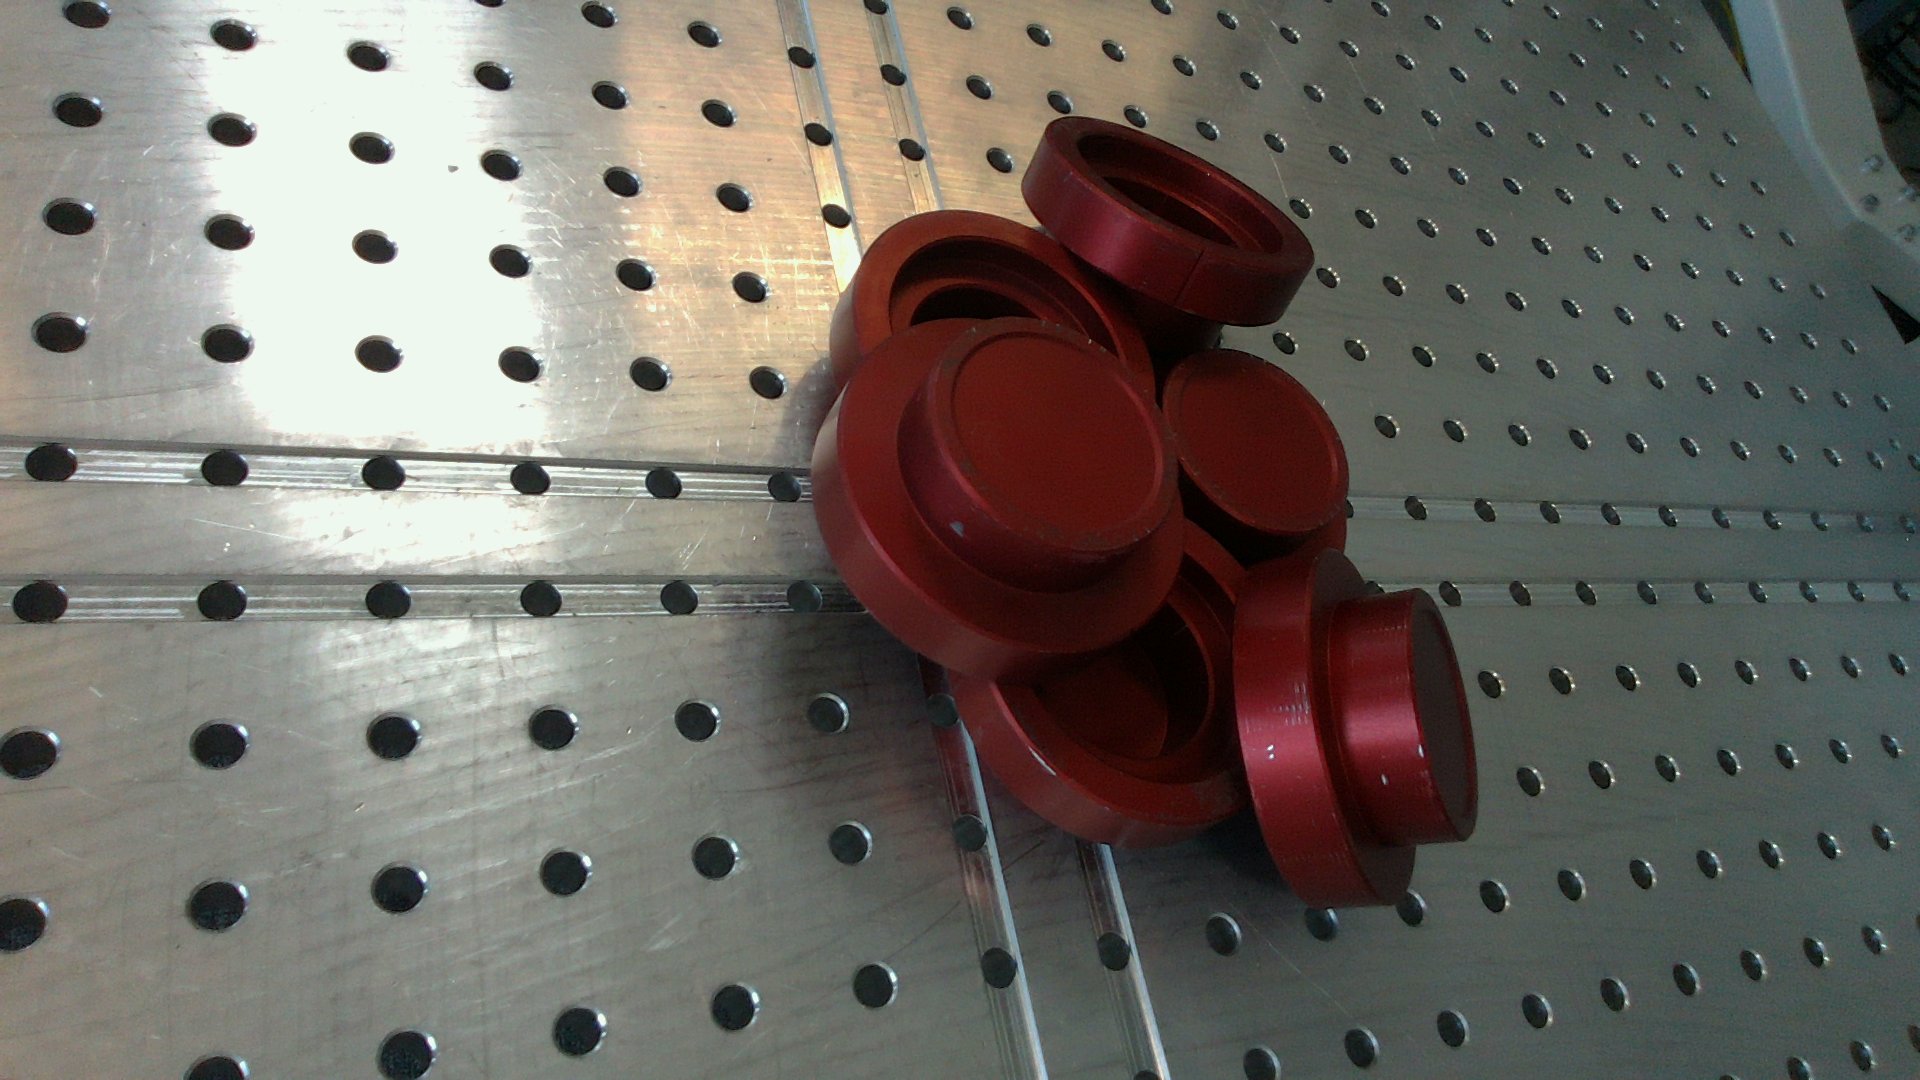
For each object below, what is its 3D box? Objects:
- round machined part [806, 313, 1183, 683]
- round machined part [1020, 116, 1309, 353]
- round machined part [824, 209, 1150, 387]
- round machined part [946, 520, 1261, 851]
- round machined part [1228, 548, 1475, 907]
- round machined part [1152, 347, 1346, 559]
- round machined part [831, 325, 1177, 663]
[{"bbox_3d":[0.015,-0.017,0.345,0.098,0.042,0.098,14,56,-21],"label":"round machined part"},{"bbox_3d":[0.064,-0.099,0.462,0.098,0.042,0.098,20,32,-13],"label":"round machined part"},{"bbox_3d":[0.005,-0.048,0.414,0.098,0.042,0.098,14,56,-21],"label":"round machined part"},{"bbox_3d":[0.039,0.038,0.379,0.098,0.042,0.098,14,56,-21],"label":"round machined part"},{"bbox_3d":[0.112,0.050,0.380,0.098,0.042,0.098,32,51,-52],"label":"round machined part"},{"bbox_3d":[0.083,-0.022,0.439,0.098,0.042,0.098,14,56,-21],"label":"round machined part"},{"bbox_3d":[0.009,-0.009,0.392,0.098,0.042,0.098,14,56,-21],"label":"round machined part"}]
